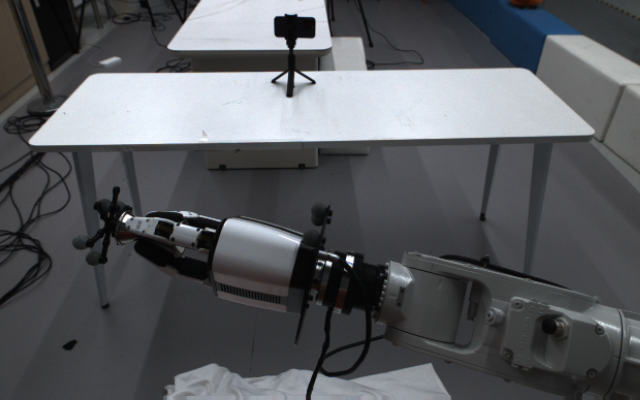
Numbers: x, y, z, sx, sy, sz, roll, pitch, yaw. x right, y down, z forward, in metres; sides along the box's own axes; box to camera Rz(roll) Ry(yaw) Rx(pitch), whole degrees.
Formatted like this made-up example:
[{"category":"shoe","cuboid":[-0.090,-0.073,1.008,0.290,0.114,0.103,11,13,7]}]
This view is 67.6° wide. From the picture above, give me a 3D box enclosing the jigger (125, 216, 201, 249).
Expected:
[{"category":"jigger","cuboid":[-0.180,0.034,0.546,0.071,0.043,0.043,10,35,2]}]
